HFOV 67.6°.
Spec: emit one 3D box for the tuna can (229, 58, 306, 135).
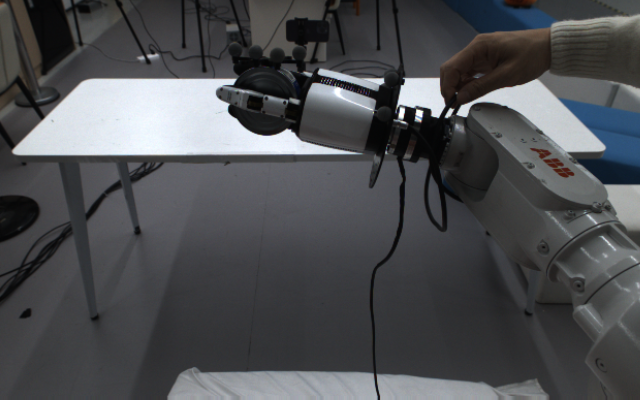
[{"bbox_3d":[-0.066,-0.127,0.613,0.085,0.085,0.034,6,22,6],"label":"tuna can"}]
